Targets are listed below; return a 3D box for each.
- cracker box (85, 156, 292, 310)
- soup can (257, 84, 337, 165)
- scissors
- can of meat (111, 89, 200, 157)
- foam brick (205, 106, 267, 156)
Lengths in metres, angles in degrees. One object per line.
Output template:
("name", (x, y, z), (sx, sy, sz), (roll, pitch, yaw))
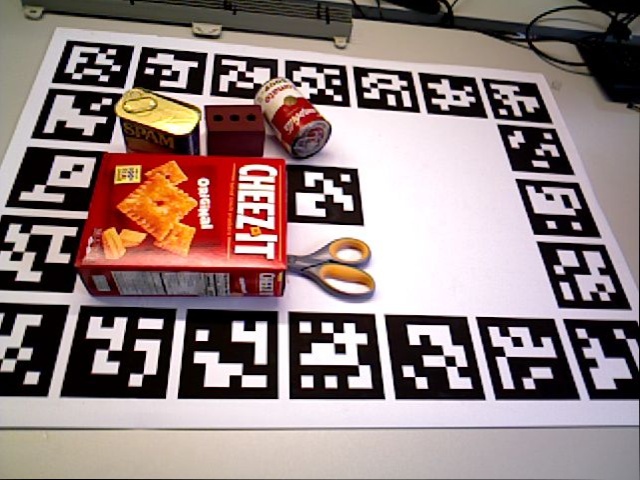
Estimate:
("cracker box", (-0.143, -0.016, 0.609), (0.212, 0.073, 0.162), (-4, 57, -7))
("soup can", (-0.034, -0.161, 0.753), (0.066, 0.069, 0.102), (-32, 62, -27))
("scissors", (-0.033, 0.037, 0.631), (0.201, 0.016, 0.086), (-1, 58, -10))
("can of meat", (-0.202, -0.131, 0.683), (0.101, 0.085, 0.057), (15, 56, -1))
("foam brick", (-0.113, -0.142, 0.729), (0.077, 0.052, 0.052), (-6, 59, -14))
